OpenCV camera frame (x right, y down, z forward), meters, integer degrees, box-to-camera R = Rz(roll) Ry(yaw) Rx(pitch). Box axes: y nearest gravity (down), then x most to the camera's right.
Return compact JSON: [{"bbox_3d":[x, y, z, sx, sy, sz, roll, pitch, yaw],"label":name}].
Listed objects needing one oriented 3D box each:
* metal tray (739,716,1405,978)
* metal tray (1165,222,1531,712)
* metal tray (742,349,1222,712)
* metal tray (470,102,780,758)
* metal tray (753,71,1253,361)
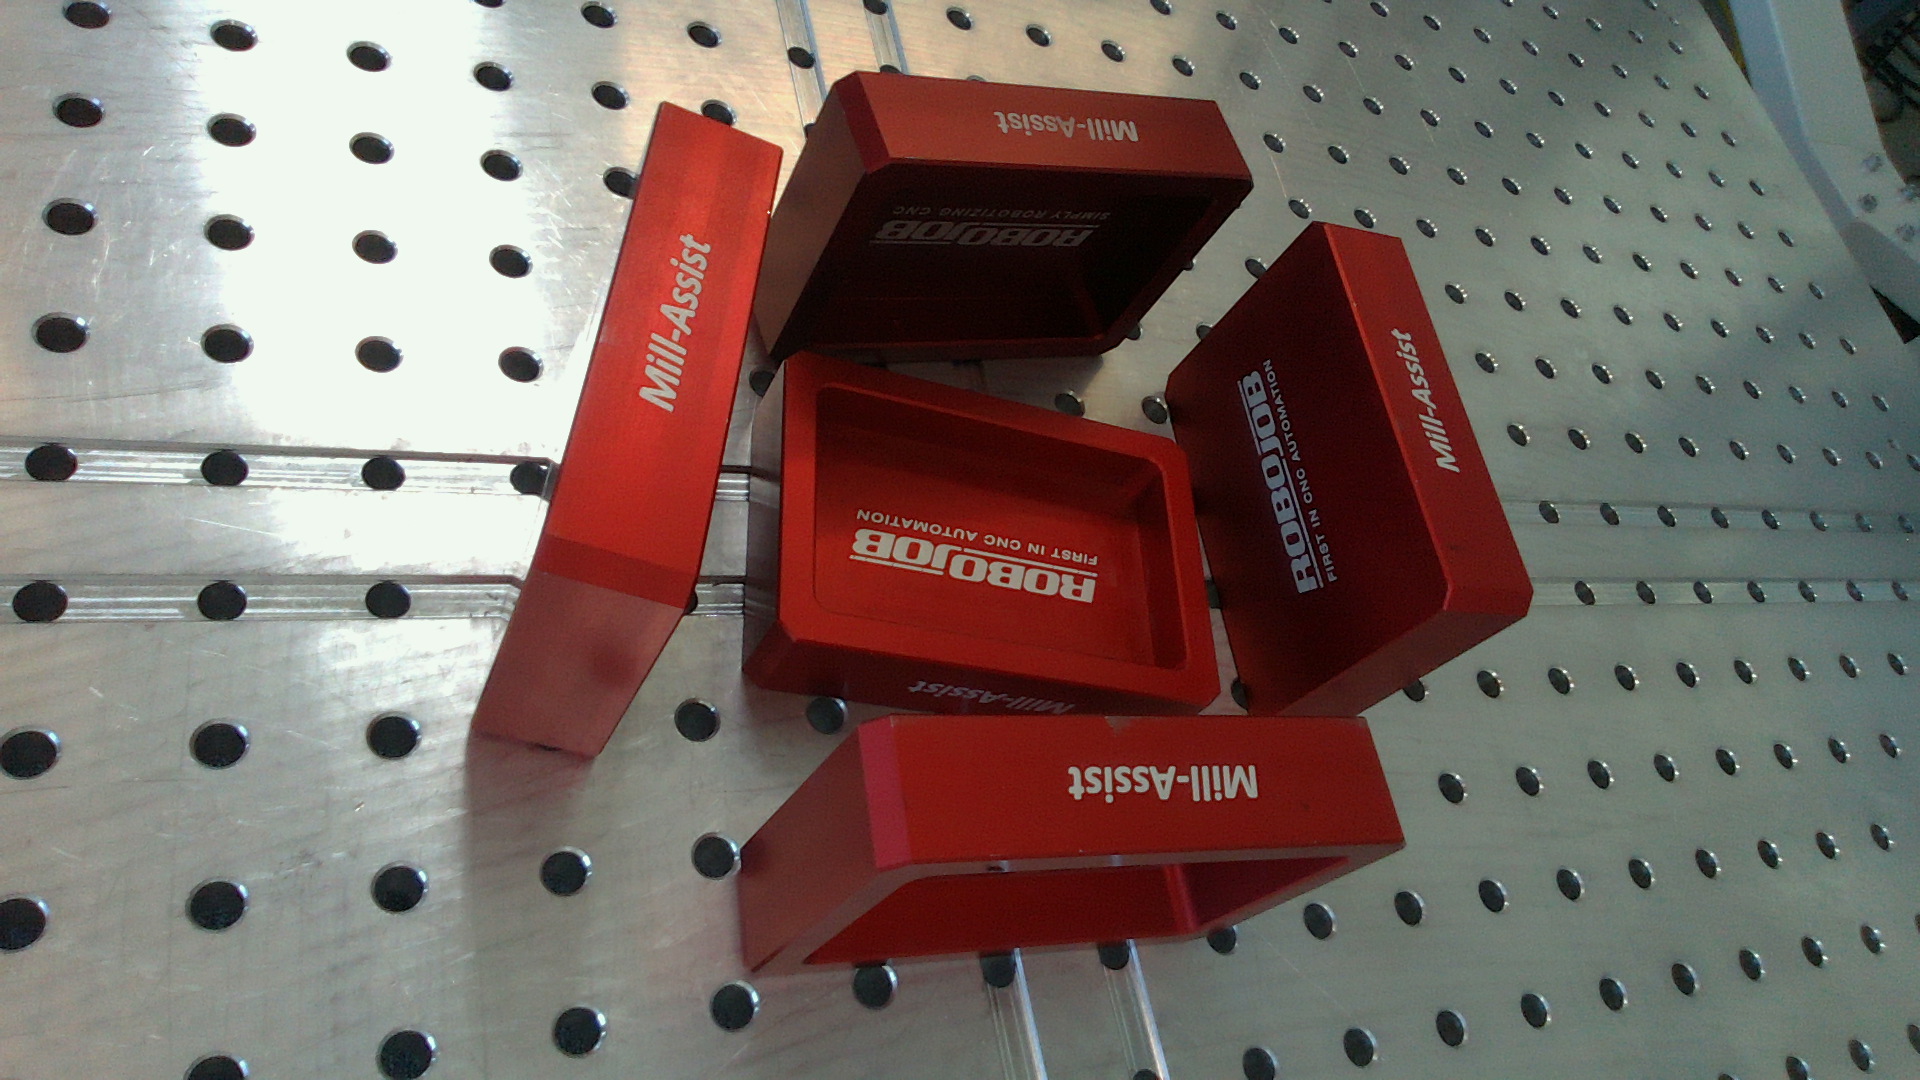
[{"bbox_3d":[0.024,0.072,0.320,0.130,0.090,0.030,3,60,-26],"label":"metal tray"},{"bbox_3d":[0.112,-0.019,0.422,0.030,0.090,0.130,5,59,-26],"label":"metal tray"},{"bbox_3d":[0.007,0.003,0.390,0.130,0.030,0.090,11,57,-23],"label":"metal tray"},{"bbox_3d":[-0.078,-0.026,0.324,0.030,0.090,0.130,17,55,-18],"label":"metal tray"},{"bbox_3d":[0.011,-0.092,0.412,0.130,0.090,0.030,-7,65,-31],"label":"metal tray"}]
